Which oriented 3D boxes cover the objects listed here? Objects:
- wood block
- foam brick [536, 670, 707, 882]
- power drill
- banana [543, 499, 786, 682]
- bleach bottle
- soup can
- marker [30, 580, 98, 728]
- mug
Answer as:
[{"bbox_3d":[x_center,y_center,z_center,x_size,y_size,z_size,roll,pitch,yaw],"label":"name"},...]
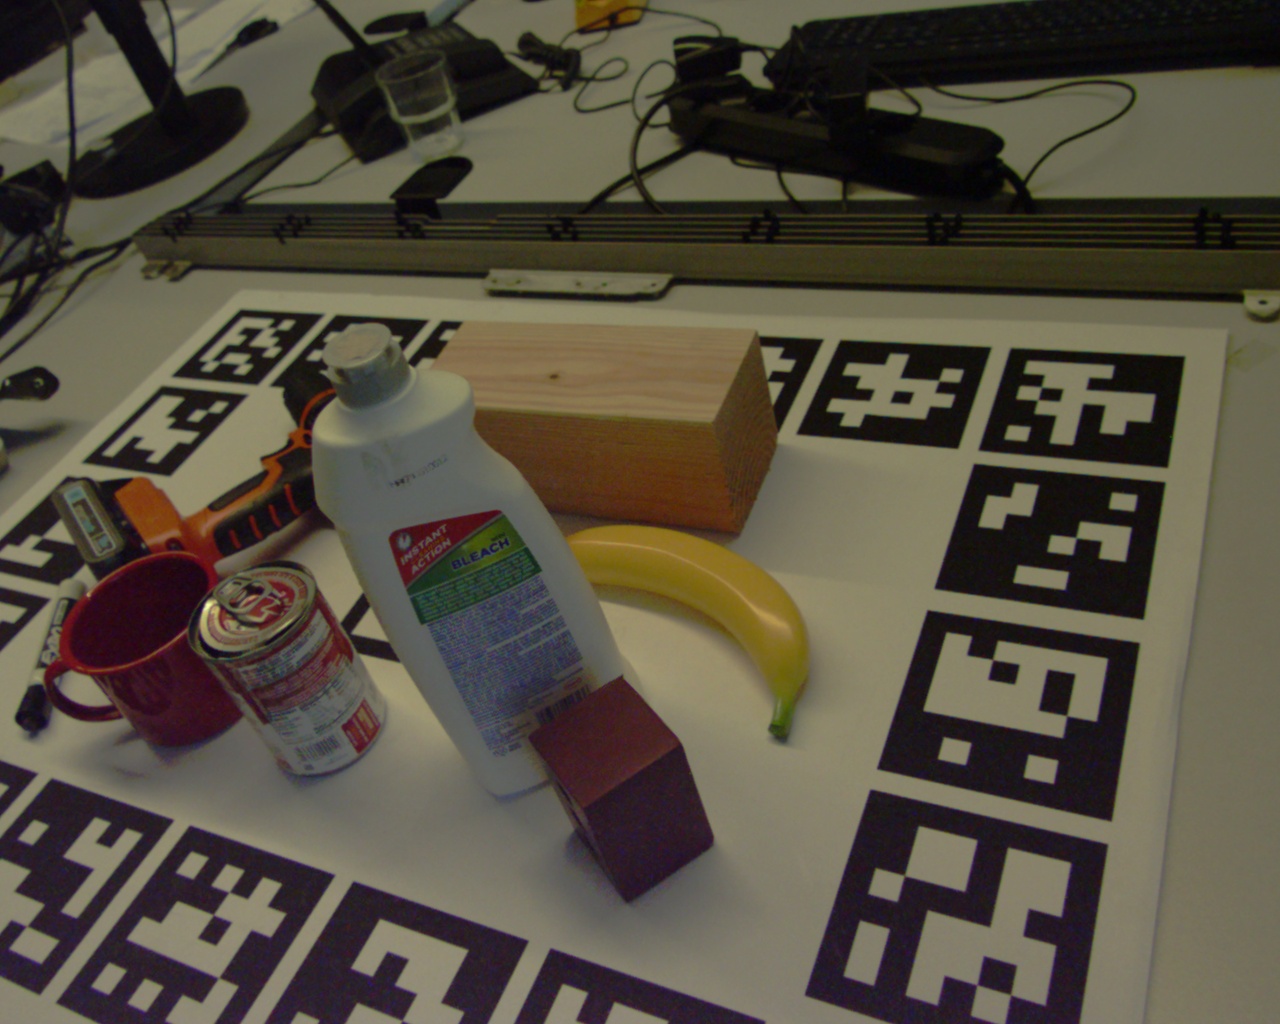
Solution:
[{"bbox_3d":[-0.032,-0.056,0.747,0.209,0.090,0.089,6,47,25],"label":"wood block"},{"bbox_3d":[-0.008,0.127,0.549,0.051,0.077,0.053,-30,40,-17],"label":"foam brick"},{"bbox_3d":[-0.270,-0.012,0.815,0.186,0.057,0.187,-35,47,-20],"label":"power drill"},{"bbox_3d":[0.012,0.030,0.670,0.200,0.038,0.074,23,69,34],"label":"banana"},{"bbox_3d":[-0.081,0.023,0.555,0.102,0.249,0.069,-34,43,-20],"label":"bleach bottle"},{"bbox_3d":[-0.190,0.079,0.636,0.068,0.101,0.068,-8,39,6],"label":"soup can"},{"bbox_3d":[-0.384,0.094,0.764,0.020,0.019,0.122,-16,42,5],"label":"marker"},{"bbox_3d":[-0.286,0.081,0.692,0.117,0.081,0.094,-28,44,-6],"label":"mug"}]
